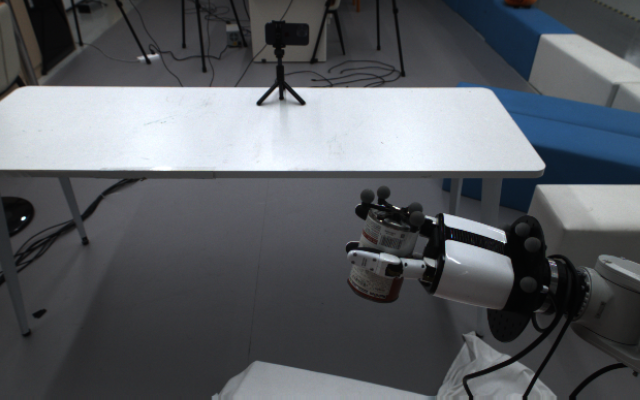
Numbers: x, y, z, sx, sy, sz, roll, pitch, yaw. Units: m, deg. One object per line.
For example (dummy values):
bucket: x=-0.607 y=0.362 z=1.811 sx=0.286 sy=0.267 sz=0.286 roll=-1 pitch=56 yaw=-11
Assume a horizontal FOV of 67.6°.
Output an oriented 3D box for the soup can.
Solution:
soup can: x=0.081 y=0.066 z=0.602 sx=0.067 sy=0.101 sz=0.067 roll=13 pitch=18 yaw=-4
